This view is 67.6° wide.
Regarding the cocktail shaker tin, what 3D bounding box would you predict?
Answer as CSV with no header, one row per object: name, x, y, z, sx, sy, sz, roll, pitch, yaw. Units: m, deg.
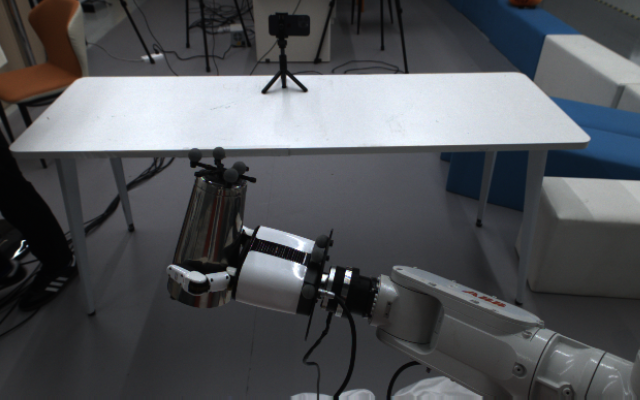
cocktail shaker tin,-0.146,0.048,0.650,0.093,0.170,0.093,13,20,-5
